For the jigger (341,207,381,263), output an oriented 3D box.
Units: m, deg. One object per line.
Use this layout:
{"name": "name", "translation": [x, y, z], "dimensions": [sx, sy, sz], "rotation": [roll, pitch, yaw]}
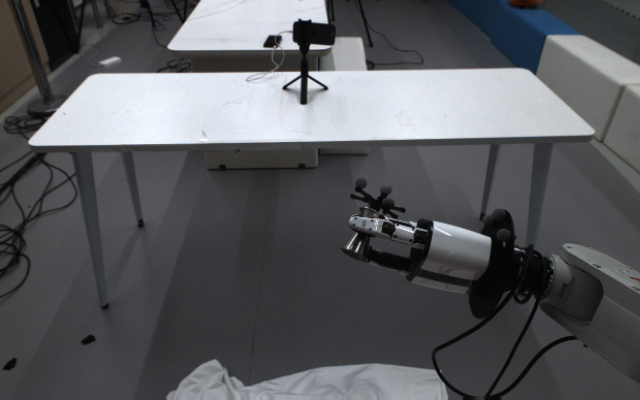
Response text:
{"name": "jigger", "translation": [0.061, 0.046, 0.687], "dimensions": [0.043, 0.043, 0.071], "rotation": [19, 72, 23]}
